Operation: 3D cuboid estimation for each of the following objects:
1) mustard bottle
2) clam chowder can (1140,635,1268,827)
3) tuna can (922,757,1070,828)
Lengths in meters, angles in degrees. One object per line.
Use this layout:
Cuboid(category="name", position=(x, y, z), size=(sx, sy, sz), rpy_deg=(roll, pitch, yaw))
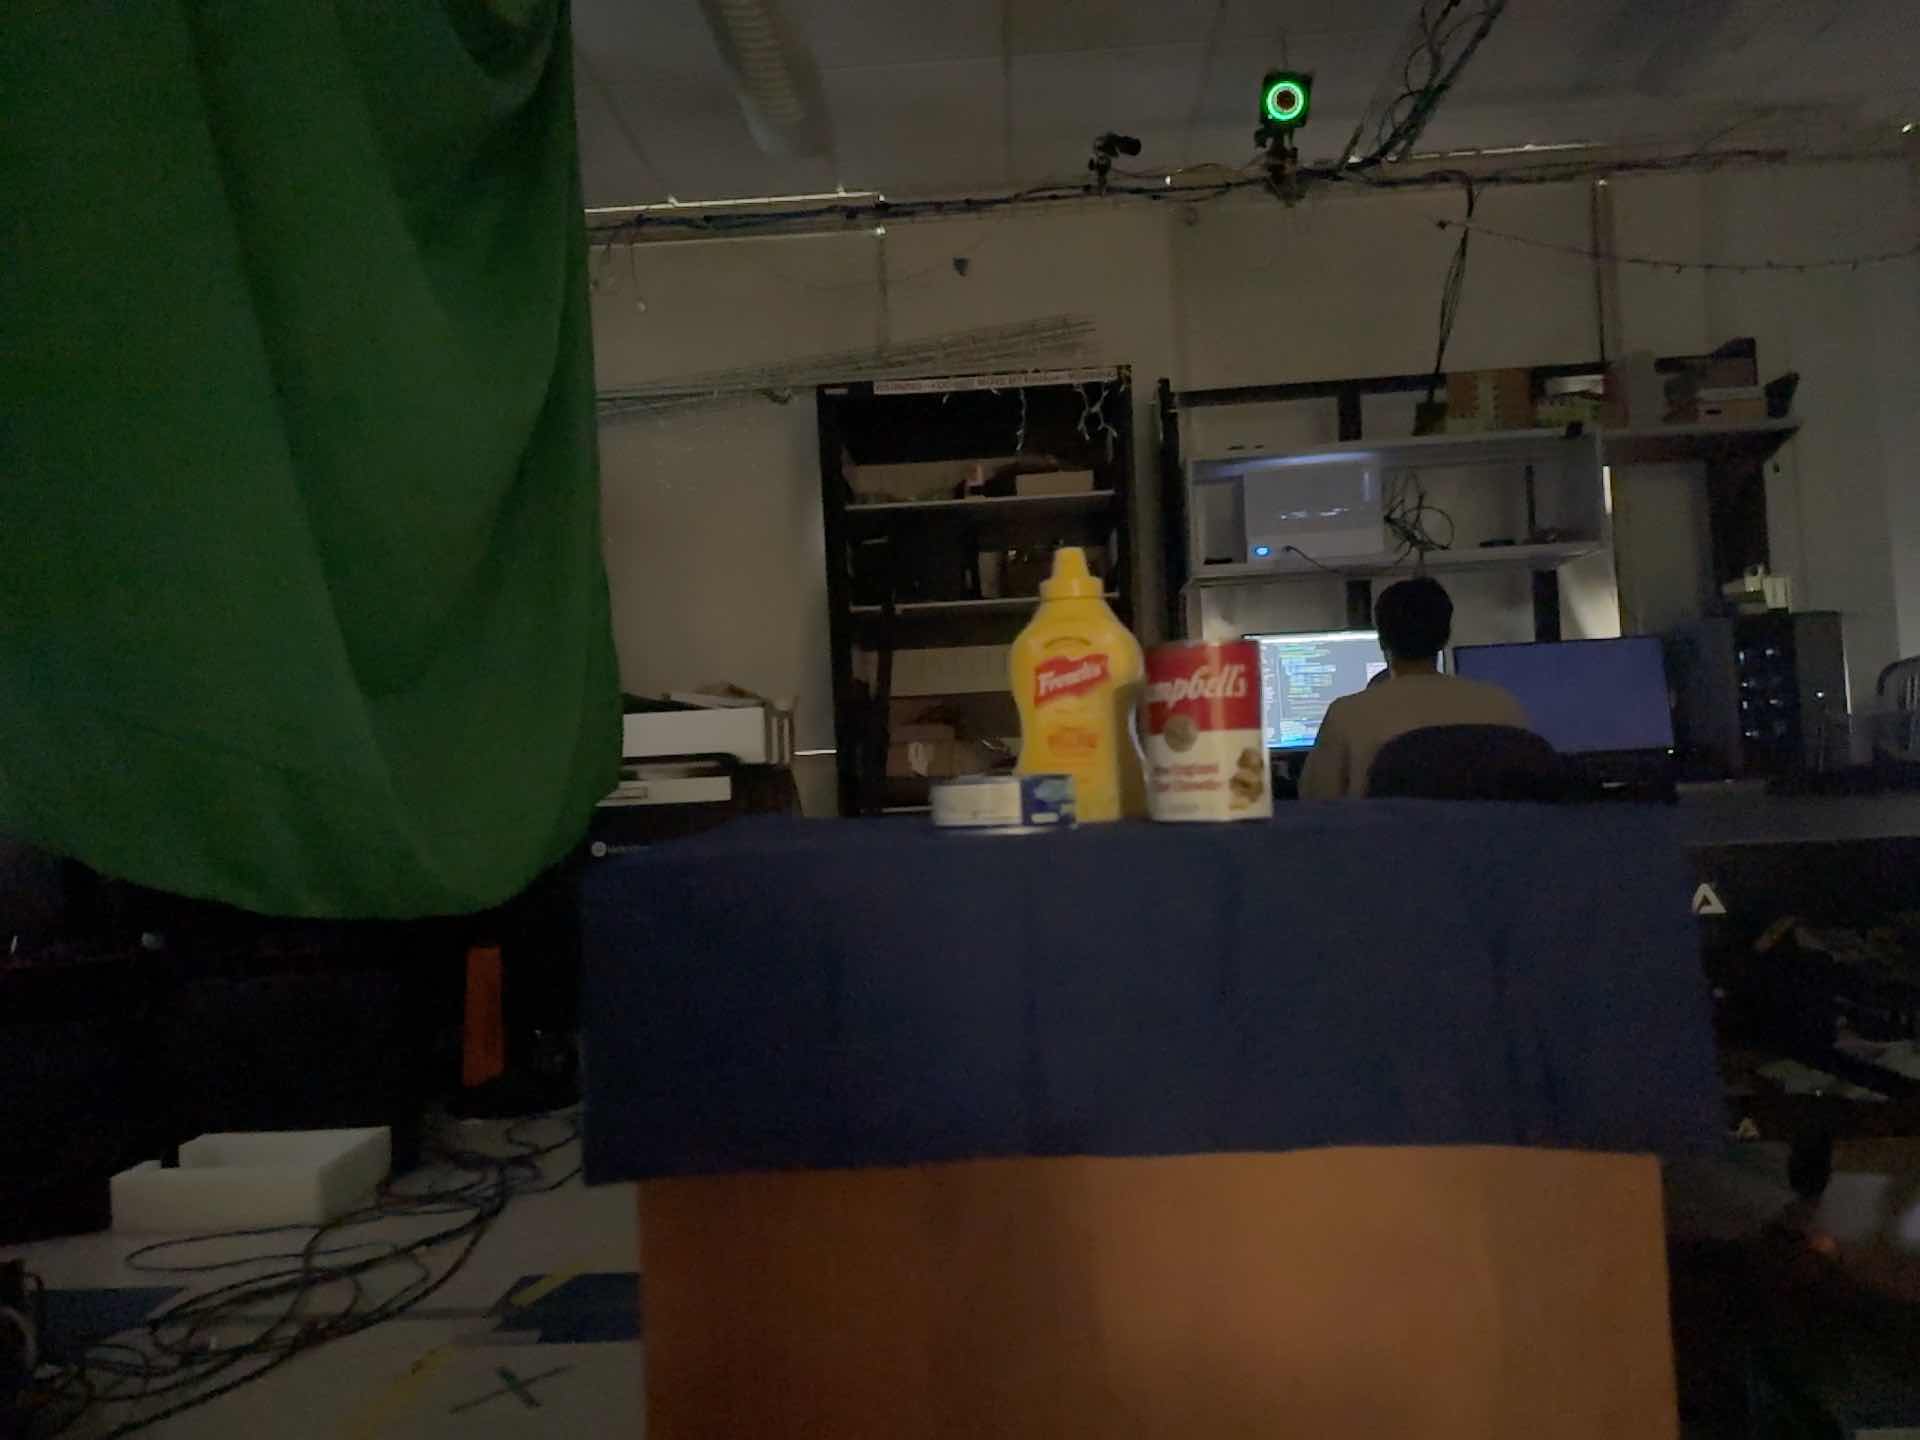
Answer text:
Cuboid(category="mustard bottle", position=(0.072, -0.017, 0.852), size=(0.092, 0.184, 0.054), rpy_deg=(-2, 2, 18))
Cuboid(category="clam chowder can", position=(0.136, 0.006, 0.748), size=(0.068, 0.102, 0.068), rpy_deg=(-2, 1, 0))
Cuboid(category="tuna can", position=(0.020, 0.040, 0.774), size=(0.083, 0.034, 0.083), rpy_deg=(-3, 1, 0))
